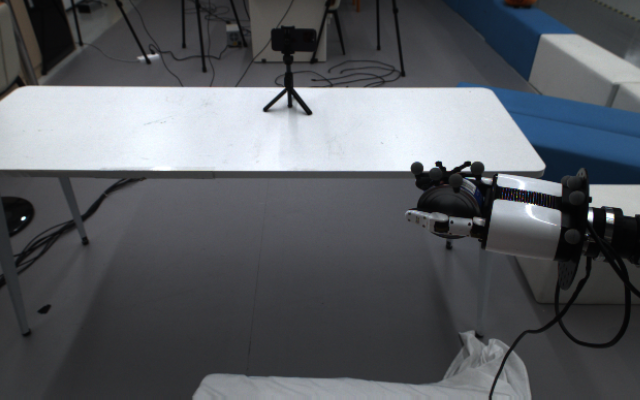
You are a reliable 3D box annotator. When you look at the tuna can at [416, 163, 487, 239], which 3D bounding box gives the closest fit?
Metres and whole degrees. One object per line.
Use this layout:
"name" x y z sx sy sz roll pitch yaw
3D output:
"tuna can" 0.181 0.007 0.667 0.085 0.085 0.034 17 37 20
